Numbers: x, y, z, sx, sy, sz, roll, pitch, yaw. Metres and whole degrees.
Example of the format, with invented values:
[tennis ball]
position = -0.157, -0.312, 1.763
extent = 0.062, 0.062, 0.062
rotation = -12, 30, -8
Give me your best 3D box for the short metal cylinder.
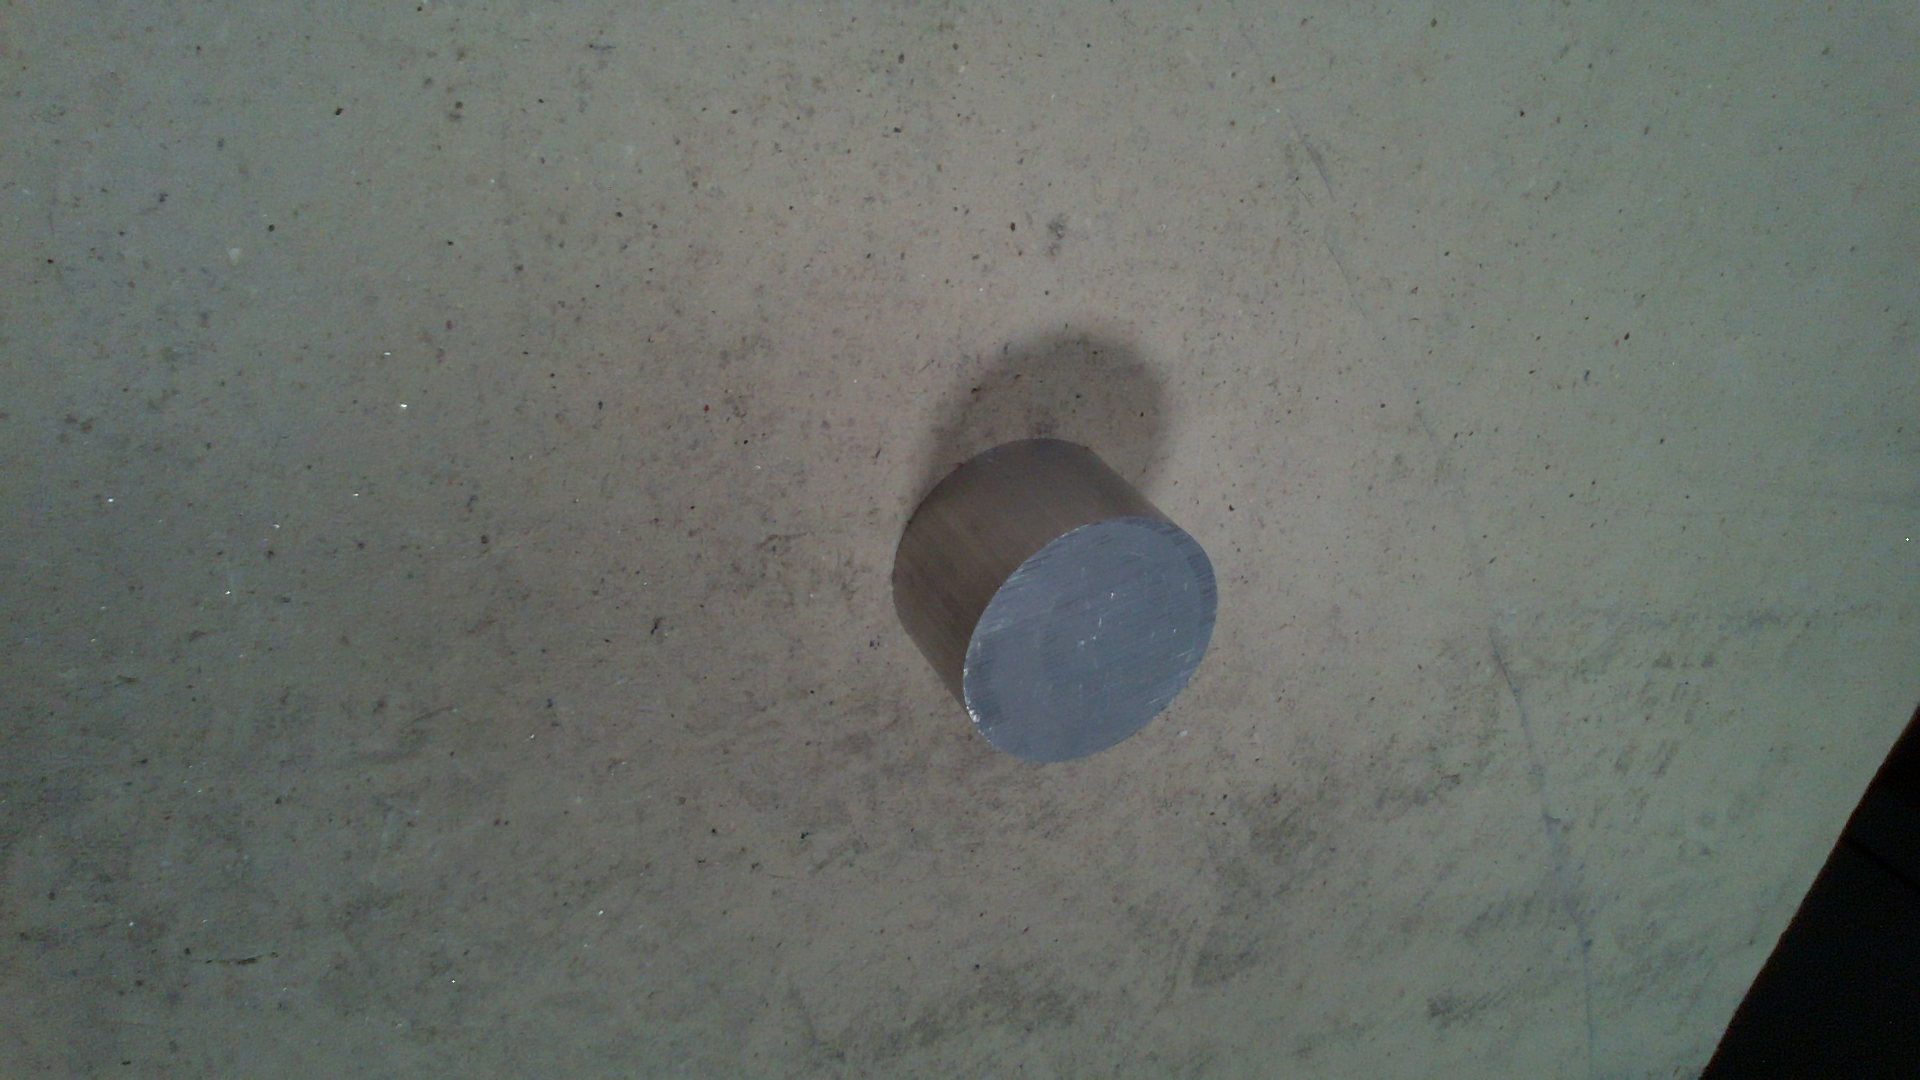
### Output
[short metal cylinder]
position = 0.027, 0.017, 0.398
extent = 0.080, 0.050, 0.080
rotation = -14, 124, -21
